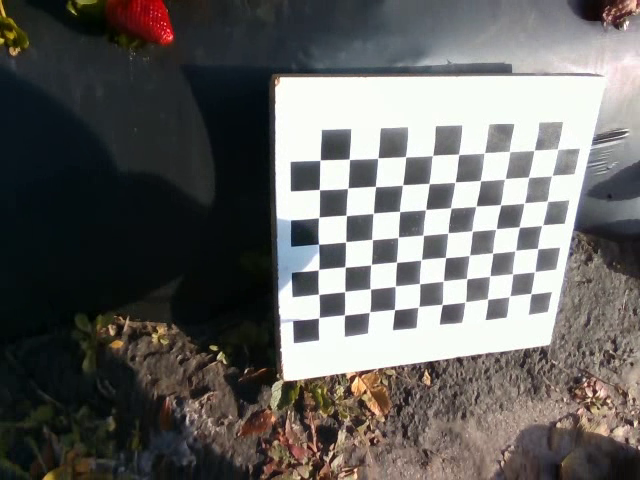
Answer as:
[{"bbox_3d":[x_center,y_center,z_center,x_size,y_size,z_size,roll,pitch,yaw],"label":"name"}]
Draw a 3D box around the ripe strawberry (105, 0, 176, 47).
[{"bbox_3d":[-0.118,-0.145,0.383,0.056,0.041,0.041,44,12,19],"label":"ripe strawberry"}]
